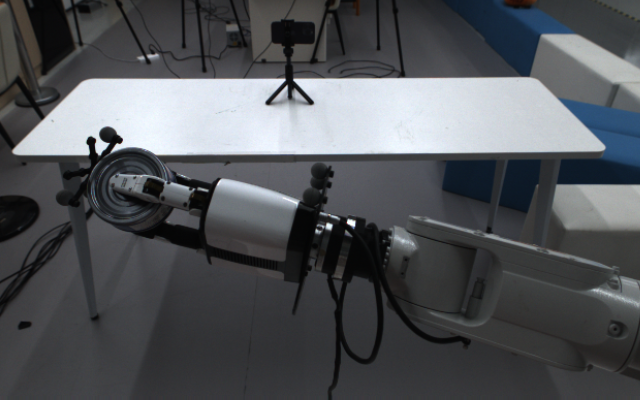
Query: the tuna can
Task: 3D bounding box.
[{"bbox_3d":[-0.192,-0.006,0.508,0.085,0.034,0.085,0,75,-2],"label":"tuna can"}]
